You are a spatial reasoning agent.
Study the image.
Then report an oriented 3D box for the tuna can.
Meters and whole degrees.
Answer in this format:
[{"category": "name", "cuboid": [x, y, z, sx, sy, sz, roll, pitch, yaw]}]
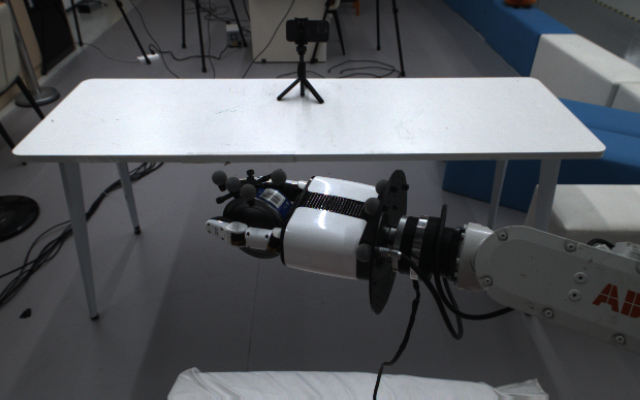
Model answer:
[{"category": "tuna can", "cuboid": [-0.068, 0.026, 0.575, 0.085, 0.085, 0.034, 14, 34, 17]}]
